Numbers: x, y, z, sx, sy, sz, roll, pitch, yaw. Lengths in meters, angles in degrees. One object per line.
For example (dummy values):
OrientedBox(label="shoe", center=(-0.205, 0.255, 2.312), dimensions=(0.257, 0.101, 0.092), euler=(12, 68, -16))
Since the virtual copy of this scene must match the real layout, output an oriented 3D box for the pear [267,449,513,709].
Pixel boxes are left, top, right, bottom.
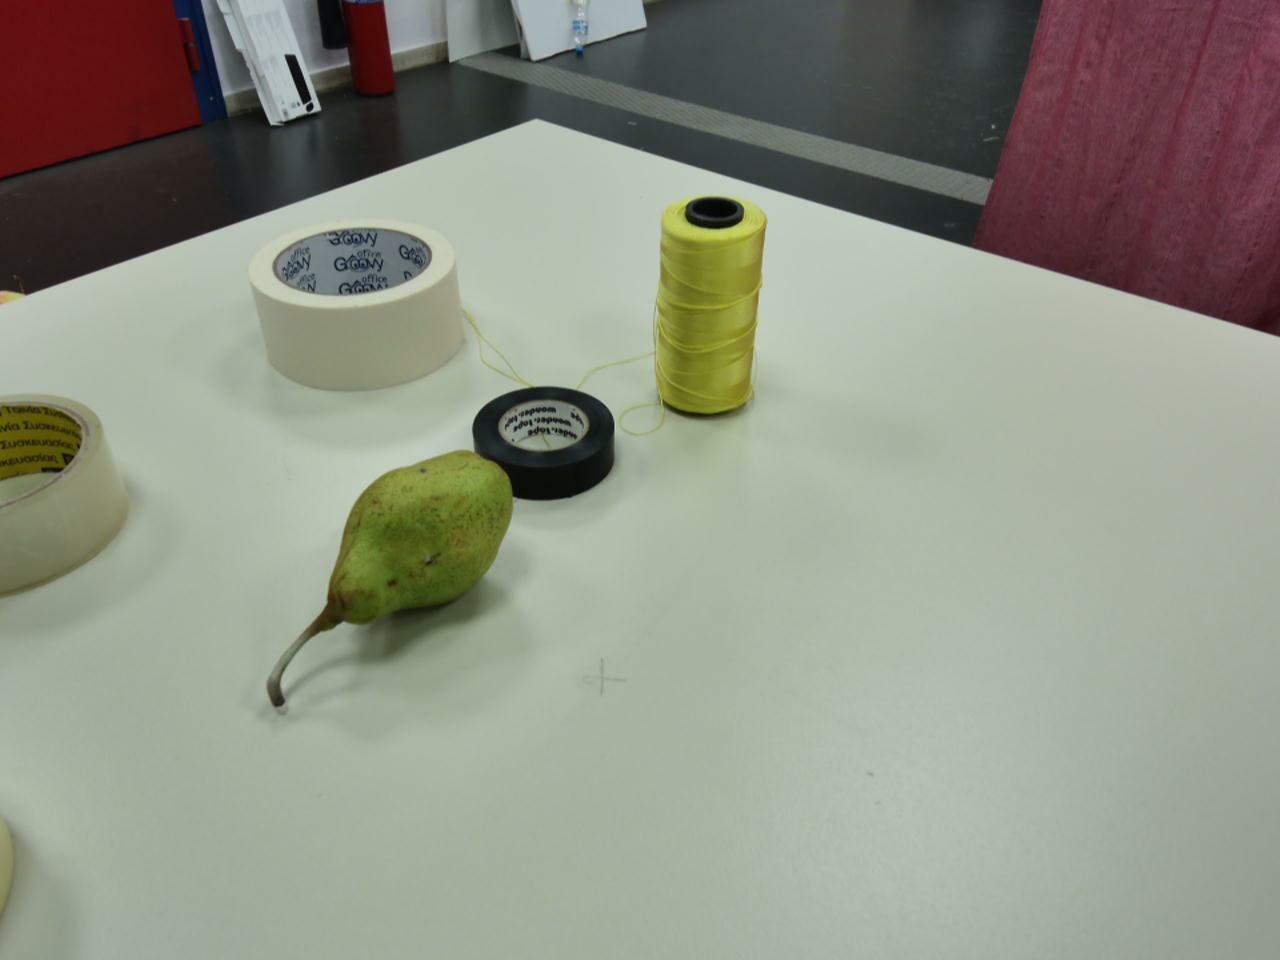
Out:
OrientedBox(label="pear", center=(-0.098, 0.027, 0.374), dimensions=(0.111, 0.056, 0.056), euler=(-23, 42, -30))
